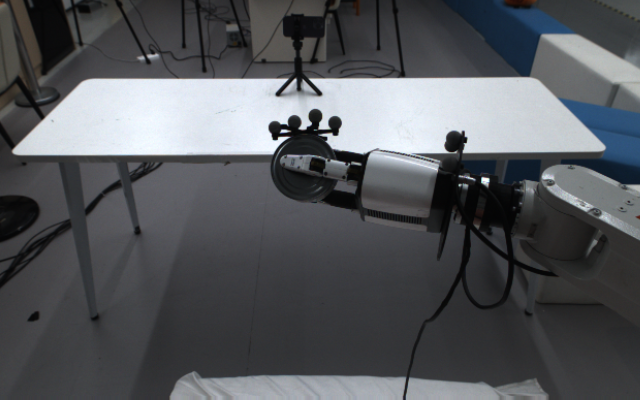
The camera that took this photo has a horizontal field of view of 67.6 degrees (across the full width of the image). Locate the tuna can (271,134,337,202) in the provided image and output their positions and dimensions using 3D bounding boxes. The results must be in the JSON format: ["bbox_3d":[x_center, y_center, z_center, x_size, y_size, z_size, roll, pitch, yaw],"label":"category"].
[{"bbox_3d":[-0.016,-0.036,0.620,0.085,0.085,0.034,10,-6,11],"label":"tuna can"}]
